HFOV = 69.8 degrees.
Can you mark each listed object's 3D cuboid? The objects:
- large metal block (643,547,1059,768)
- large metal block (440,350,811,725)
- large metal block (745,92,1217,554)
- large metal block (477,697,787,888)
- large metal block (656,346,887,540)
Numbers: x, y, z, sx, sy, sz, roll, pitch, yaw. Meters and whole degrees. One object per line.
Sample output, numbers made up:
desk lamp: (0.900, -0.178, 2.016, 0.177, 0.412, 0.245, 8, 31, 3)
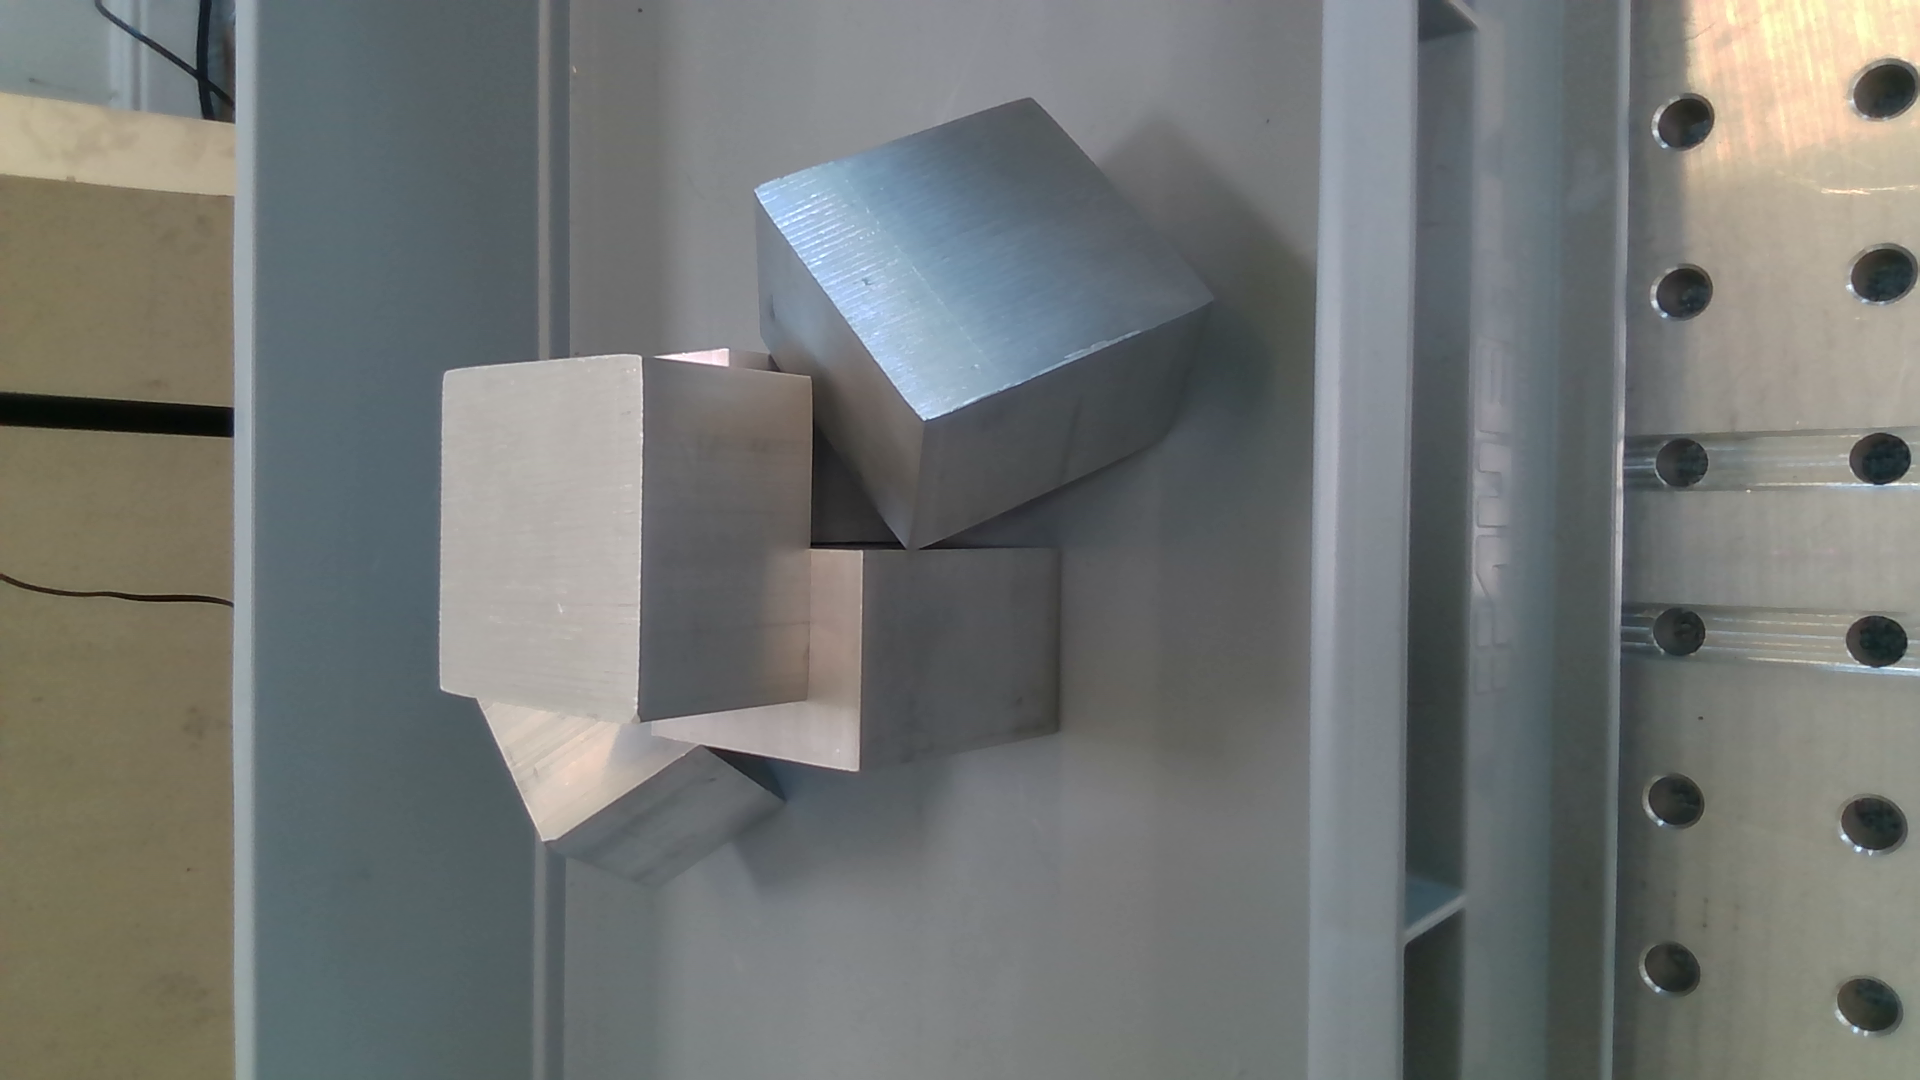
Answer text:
large metal block: (-0.029, 0.027, 0.377, 0.080, 0.080, 0.050, 1, 91, 40)
large metal block: (-0.083, -0.001, 0.338, 0.080, 0.050, 0.080, 2, 92, 40)
large metal block: (0.002, -0.056, 0.341, 0.080, 0.080, 0.050, 54, 157, 26)
large metal block: (-0.106, 0.056, 0.434, 0.050, 0.080, 0.080, -33, 65, -2)
large metal block: (-0.066, -0.026, 0.409, 0.080, 0.080, 0.050, 1, 91, 40)
